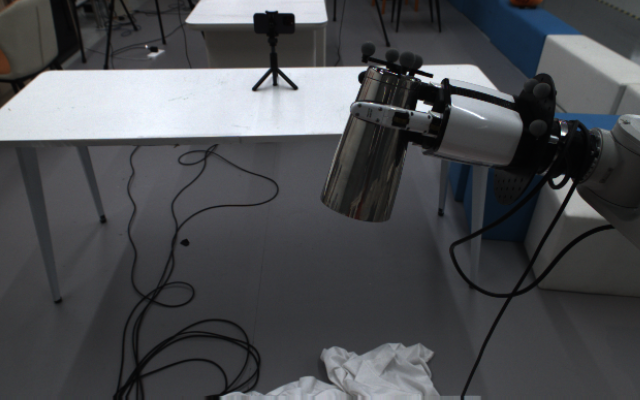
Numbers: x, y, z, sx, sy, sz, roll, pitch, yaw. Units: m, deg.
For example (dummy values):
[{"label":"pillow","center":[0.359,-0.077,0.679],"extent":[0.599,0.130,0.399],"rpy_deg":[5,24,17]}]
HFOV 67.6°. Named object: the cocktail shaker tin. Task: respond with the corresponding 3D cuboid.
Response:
[{"label":"cocktail shaker tin","center":[0.068,-0.073,0.591],"extent":[0.093,0.170,0.093],"rpy_deg":[14,18,-5]}]
